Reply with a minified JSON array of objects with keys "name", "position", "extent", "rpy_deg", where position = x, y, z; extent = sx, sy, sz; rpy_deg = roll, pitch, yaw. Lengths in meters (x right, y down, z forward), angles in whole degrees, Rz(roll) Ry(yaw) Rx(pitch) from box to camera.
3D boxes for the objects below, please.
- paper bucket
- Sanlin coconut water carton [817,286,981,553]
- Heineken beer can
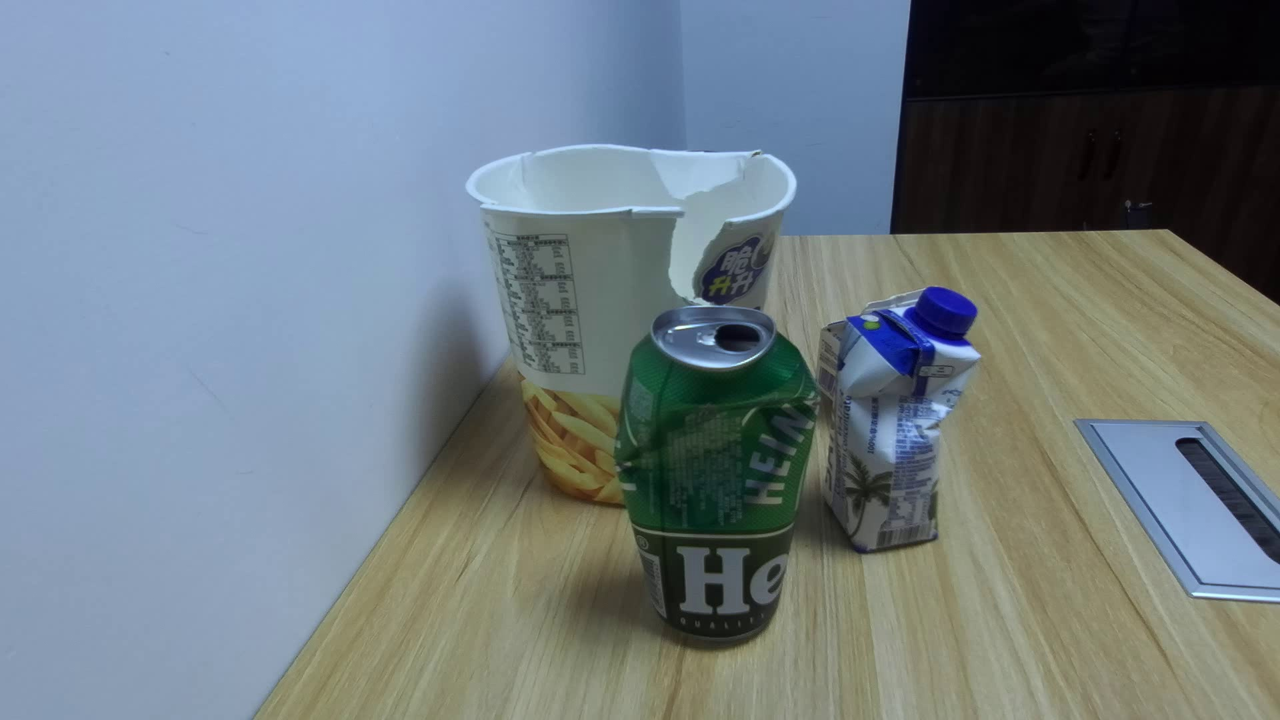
[{"name":"paper bucket","position":[-0.003,-0.026,0.454],"extent":[0.202,0.197,0.146],"rpy_deg":[6,32,21]},{"name":"Sanlin coconut water carton","position":[0.138,0.033,0.383],"extent":[0.070,0.144,0.060],"rpy_deg":[-8,30,-8]},{"name":"Heineken beer can","position":[0.033,0.058,0.336],"extent":[0.077,0.164,0.066],"rpy_deg":[22,37,39]}]
